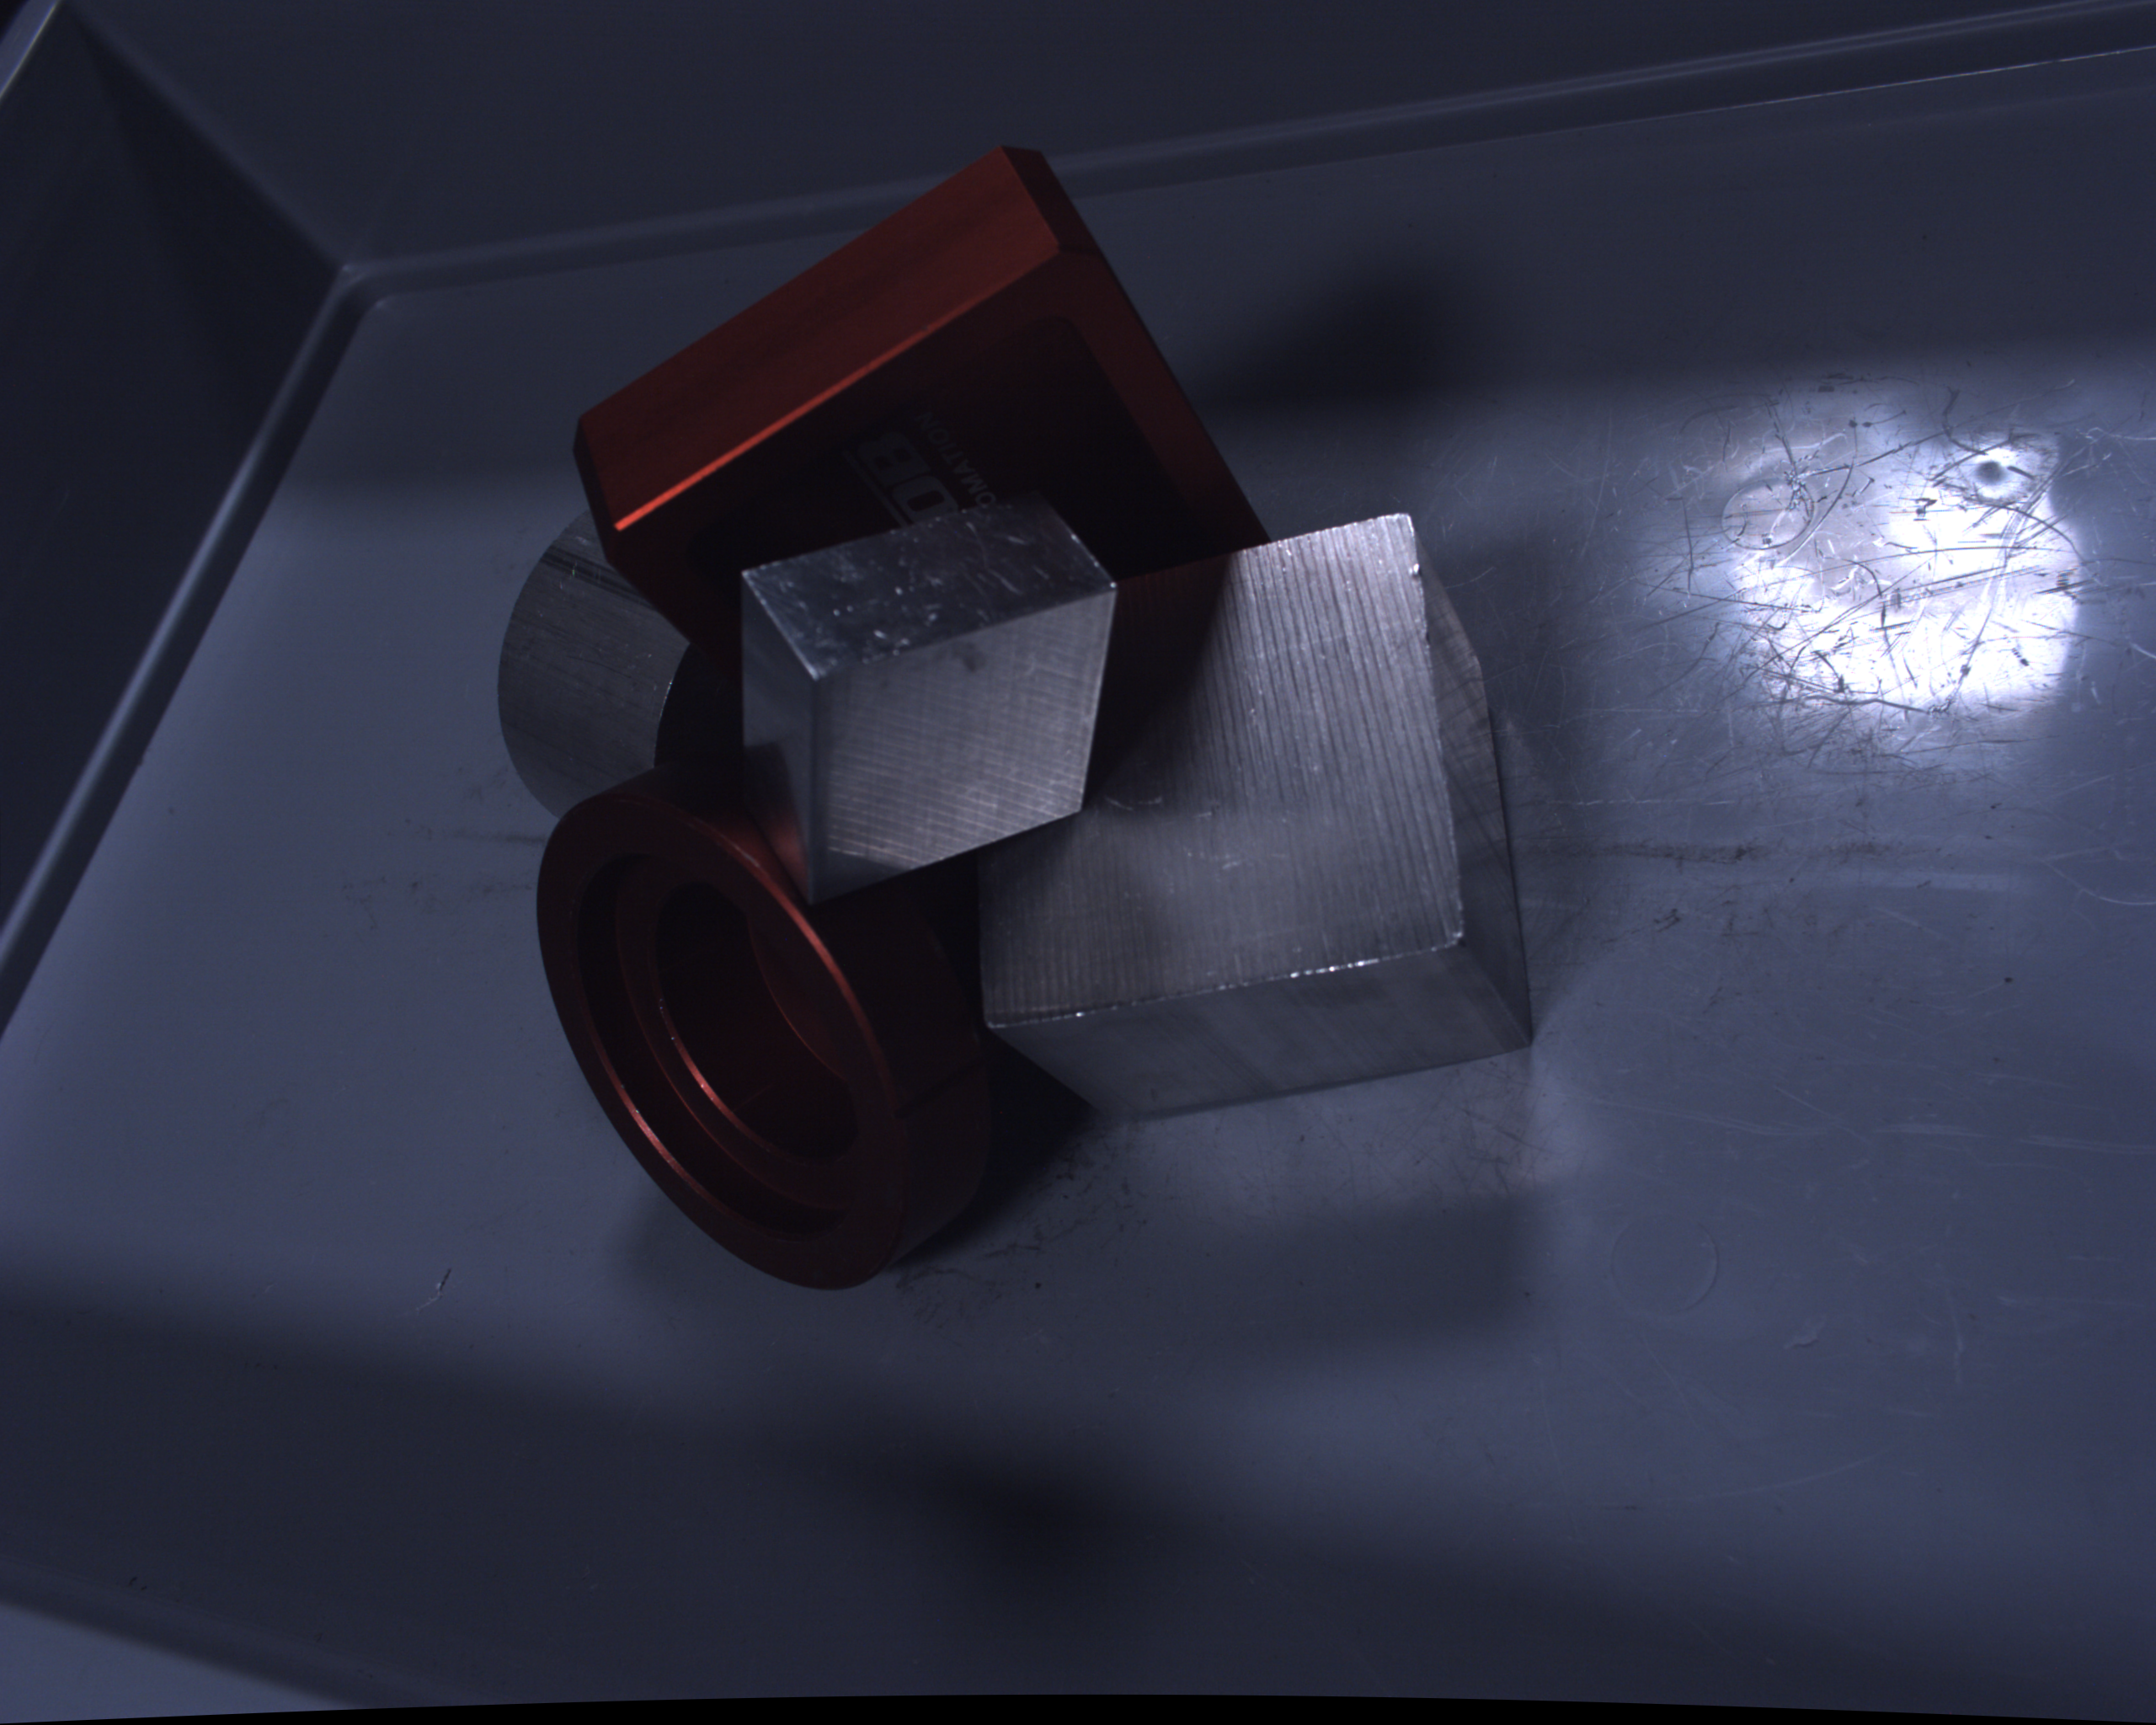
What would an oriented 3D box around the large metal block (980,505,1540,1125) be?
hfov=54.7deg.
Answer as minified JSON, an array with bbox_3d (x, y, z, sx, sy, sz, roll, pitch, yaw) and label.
[{"bbox_3d":[0.030,-0.006,0.365,0.080,0.050,0.080,-13,61,20],"label":"large metal block"}]

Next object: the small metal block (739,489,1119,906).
[{"bbox_3d":[-0.025,-0.026,0.328,0.050,0.050,0.025,-20,55,-24],"label":"small metal block"}]

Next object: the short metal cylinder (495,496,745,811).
[{"bbox_3d":[-0.069,-0.035,0.424,0.050,0.080,0.080,25,75,36],"label":"short metal cylinder"}]

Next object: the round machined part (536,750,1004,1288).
[{"bbox_3d":[-0.051,0.025,0.379,0.098,0.097,0.042,22,38,36],"label":"round machined part"}]

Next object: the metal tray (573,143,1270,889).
[{"bbox_3d":[-0.015,-0.053,0.375,0.090,0.130,0.030,-31,53,8],"label":"metal tray"}]
